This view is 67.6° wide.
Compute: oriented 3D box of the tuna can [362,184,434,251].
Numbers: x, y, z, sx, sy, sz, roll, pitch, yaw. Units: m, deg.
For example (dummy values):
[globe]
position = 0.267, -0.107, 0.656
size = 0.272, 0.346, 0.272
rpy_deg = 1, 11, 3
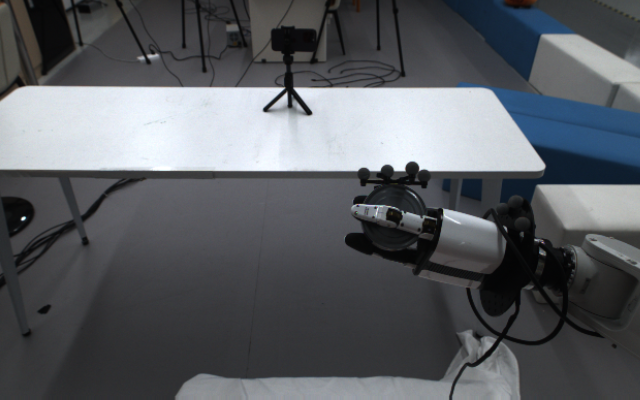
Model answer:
[tuna can]
position = 0.096, 0.022, 0.634
size = 0.085, 0.034, 0.085
rpy_deg = -1, 76, 4
